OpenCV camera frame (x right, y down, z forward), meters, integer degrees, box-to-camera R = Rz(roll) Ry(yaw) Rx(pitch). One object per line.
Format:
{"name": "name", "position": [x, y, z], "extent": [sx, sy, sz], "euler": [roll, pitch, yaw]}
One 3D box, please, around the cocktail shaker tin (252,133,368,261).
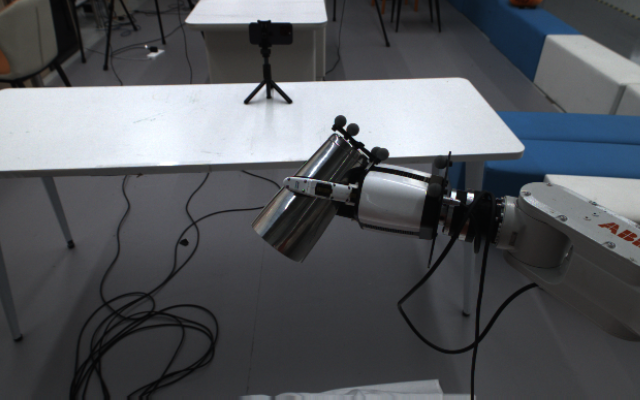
{"name": "cocktail shaker tin", "position": [-0.007, -0.010, 0.679], "extent": [0.170, 0.093, 0.093], "euler": [-50, 46, 4]}
